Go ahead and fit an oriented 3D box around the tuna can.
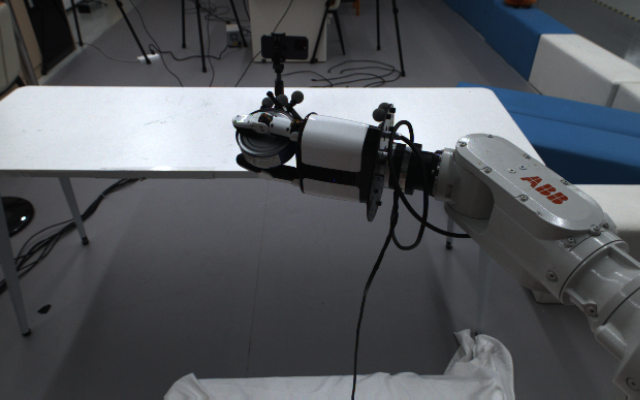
[{"bbox_3d":[-0.073,-0.089,0.685,0.085,0.034,0.085,-4,56,6],"label":"tuna can"}]
